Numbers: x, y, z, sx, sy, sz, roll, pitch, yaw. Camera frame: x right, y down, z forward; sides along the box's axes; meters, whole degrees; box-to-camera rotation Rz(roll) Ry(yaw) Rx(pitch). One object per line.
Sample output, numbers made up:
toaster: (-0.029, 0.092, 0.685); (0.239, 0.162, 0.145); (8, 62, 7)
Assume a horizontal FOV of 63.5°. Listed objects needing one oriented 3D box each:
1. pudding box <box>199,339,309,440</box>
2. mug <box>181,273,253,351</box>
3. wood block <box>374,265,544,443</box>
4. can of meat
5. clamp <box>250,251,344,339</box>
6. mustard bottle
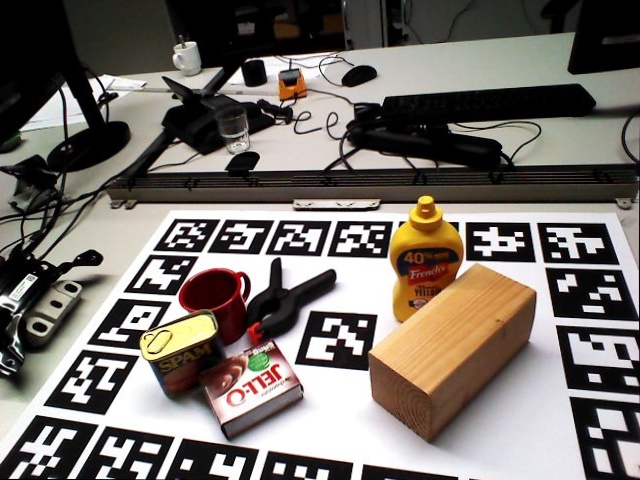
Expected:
pudding box: (-0.083, 0.184, 0.653); (0.113, 0.039, 0.090); (-24, 40, -17)
mug: (-0.141, 0.103, 0.772); (0.094, 0.081, 0.116); (17, 48, 31)
wood block: (0.171, 0.126, 0.623); (0.205, 0.091, 0.090); (-32, 40, -27)
can of meat: (-0.178, 0.148, 0.678); (0.102, 0.084, 0.058); (-19, 39, -9)
clamp: (-0.052, 0.082, 0.783); (0.122, 0.037, 0.164); (15, 47, 28)
mustard bottle: (0.143, 0.018, 0.677); (0.096, 0.192, 0.058); (-3, 39, 12)
